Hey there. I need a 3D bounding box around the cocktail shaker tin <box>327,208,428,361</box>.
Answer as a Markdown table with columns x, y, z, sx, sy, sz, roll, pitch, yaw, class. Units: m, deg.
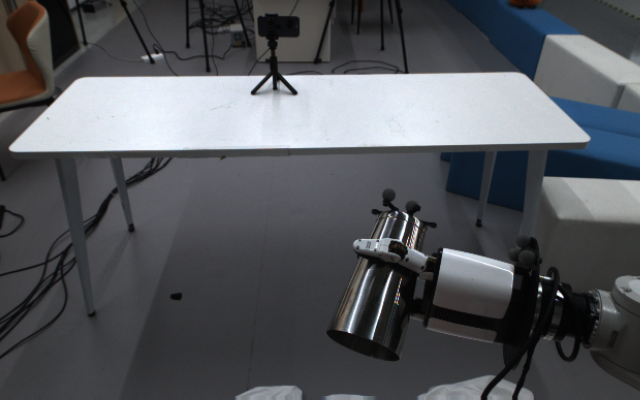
| x | y | z | sx | sy | sz | roll | pitch | yaw | class |
| --- | --- | --- | --- | --- | --- | --- | --- | --- | --- |
| 0.079 | 0.101 | 0.604 | 0.093 | 0.093 | 0.170 | 15 | 62 | 18 | cocktail shaker tin |
